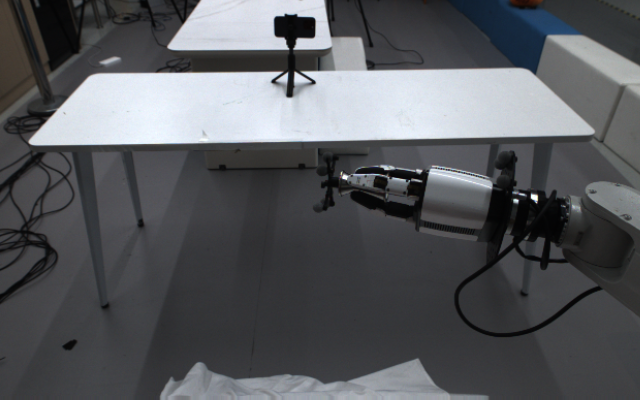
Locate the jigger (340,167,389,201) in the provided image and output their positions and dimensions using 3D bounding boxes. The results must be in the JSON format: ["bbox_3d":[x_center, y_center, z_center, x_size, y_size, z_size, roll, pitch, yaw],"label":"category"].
[{"bbox_3d":[0.070,-0.024,0.696,0.071,0.043,0.043,6,35,14],"label":"jigger"}]
